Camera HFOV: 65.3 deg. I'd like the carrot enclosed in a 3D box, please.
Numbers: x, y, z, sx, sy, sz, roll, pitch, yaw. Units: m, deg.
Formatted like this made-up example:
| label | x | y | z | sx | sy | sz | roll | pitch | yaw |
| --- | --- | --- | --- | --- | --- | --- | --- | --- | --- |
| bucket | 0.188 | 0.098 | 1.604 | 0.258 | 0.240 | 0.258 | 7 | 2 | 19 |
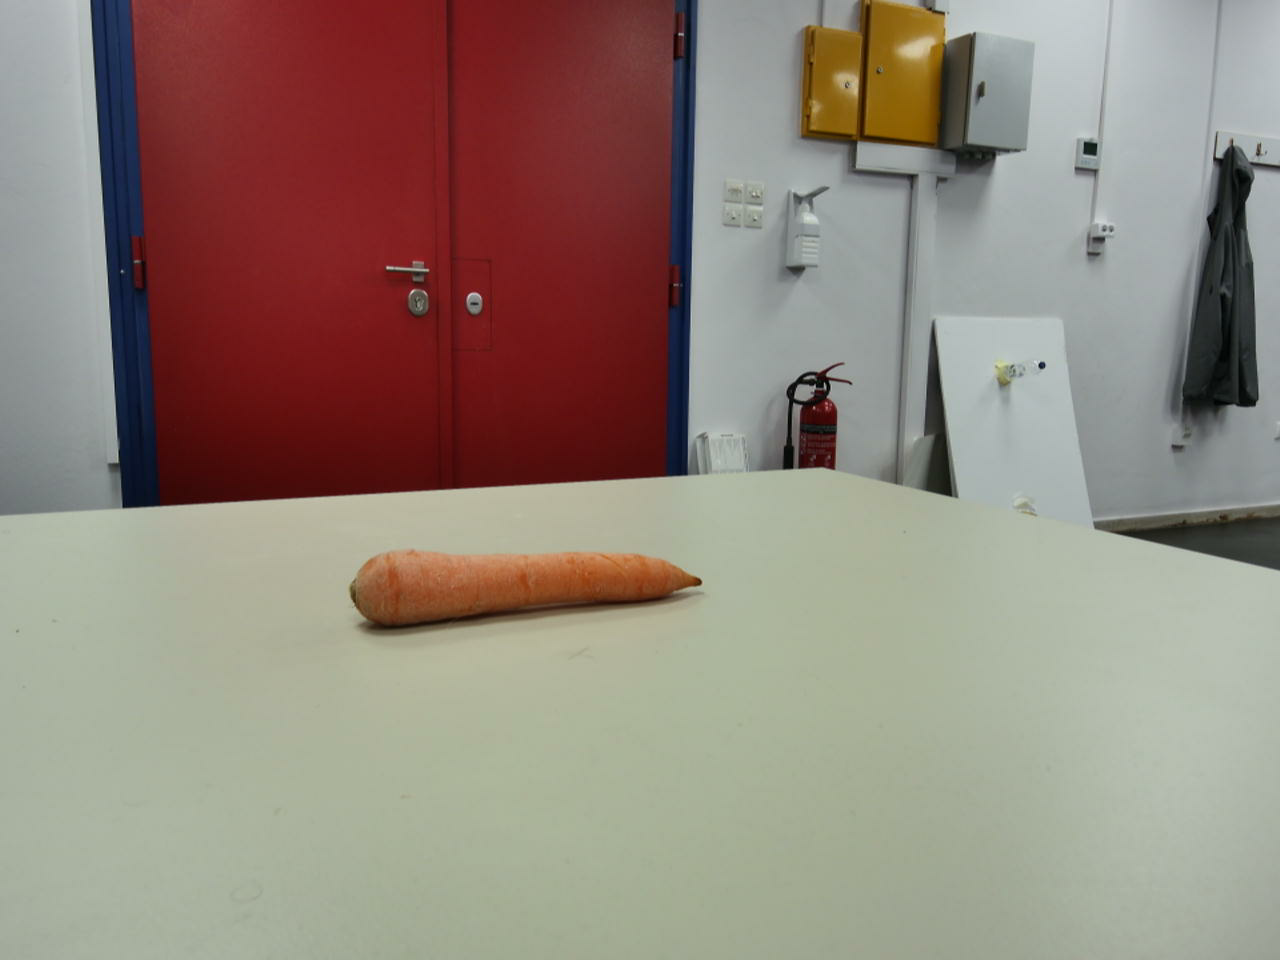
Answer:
| label | x | y | z | sx | sy | sz | roll | pitch | yaw |
| --- | --- | --- | --- | --- | --- | --- | --- | --- | --- |
| carrot | -0.055 | 0.052 | 0.540 | 0.196 | 0.041 | 0.039 | -4 | 8 | -24 |
